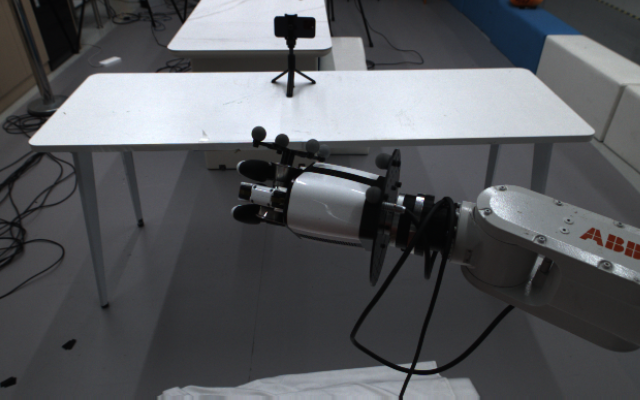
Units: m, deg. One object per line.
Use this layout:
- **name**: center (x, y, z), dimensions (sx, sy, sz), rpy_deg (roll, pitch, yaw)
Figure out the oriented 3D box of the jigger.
- **jigger**: center (-0.045, -0.009, 0.585), dimensions (0.043, 0.071, 0.043), rpy_deg (14, 1, 0)
